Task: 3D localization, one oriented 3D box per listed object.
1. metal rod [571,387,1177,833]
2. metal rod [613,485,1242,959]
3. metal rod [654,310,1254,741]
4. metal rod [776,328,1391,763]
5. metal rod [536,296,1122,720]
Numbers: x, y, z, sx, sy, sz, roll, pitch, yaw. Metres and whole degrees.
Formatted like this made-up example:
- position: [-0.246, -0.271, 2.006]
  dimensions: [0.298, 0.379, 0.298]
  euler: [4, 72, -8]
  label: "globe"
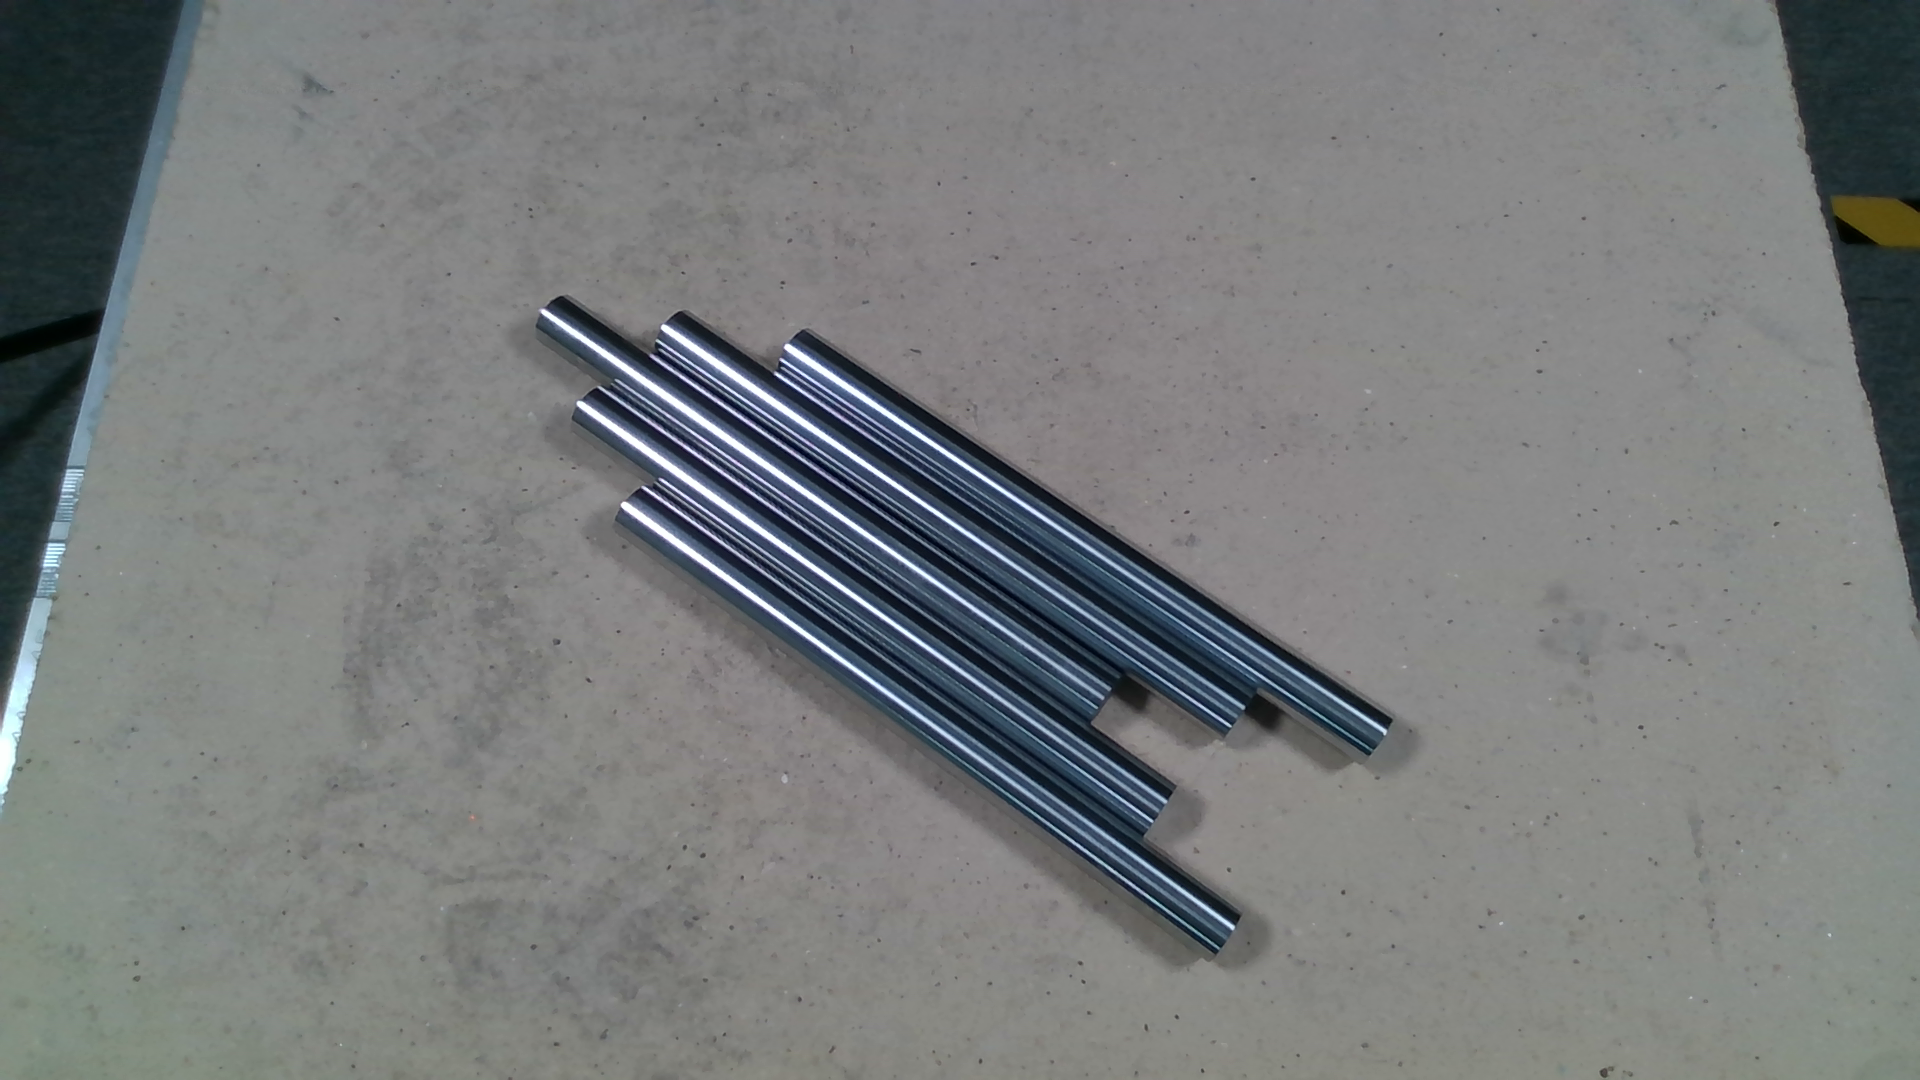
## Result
- position: [-0.042, 0.025, 0.579]
  dimensions: [0.300, 0.025, 0.025]
  euler: [34, 74, 12]
  label: "metal rod"
- position: [-0.019, 0.069, 0.563]
  dimensions: [0.300, 0.025, 0.025]
  euler: [34, 74, 12]
  label: "metal rod"
- position: [-0.008, -0.010, 0.592]
  dimensions: [0.300, 0.025, 0.025]
  euler: [34, 74, 11]
  label: "metal rod"
- position: [0.047, -0.002, 0.589]
  dimensions: [0.300, 0.025, 0.025]
  euler: [34, 74, 12]
  label: "metal rod"
- position: [-0.062, -0.017, 0.594]
  dimensions: [0.300, 0.025, 0.025]
  euler: [34, 74, 11]
  label: "metal rod"
